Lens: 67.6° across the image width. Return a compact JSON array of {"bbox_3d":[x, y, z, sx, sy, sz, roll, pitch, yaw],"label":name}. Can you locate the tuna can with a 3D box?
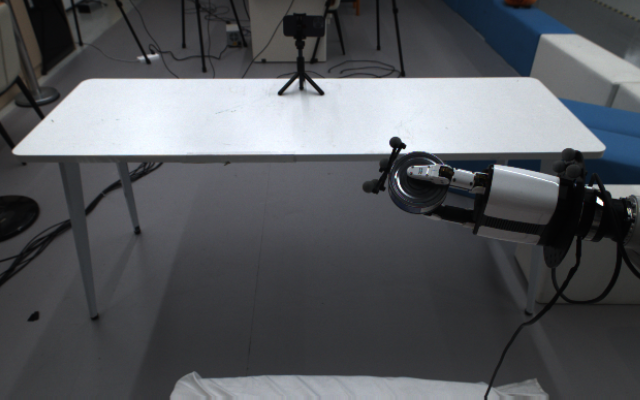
[{"bbox_3d":[0.142,-0.027,0.688,0.085,0.034,0.085,-2,71,5],"label":"tuna can"}]
